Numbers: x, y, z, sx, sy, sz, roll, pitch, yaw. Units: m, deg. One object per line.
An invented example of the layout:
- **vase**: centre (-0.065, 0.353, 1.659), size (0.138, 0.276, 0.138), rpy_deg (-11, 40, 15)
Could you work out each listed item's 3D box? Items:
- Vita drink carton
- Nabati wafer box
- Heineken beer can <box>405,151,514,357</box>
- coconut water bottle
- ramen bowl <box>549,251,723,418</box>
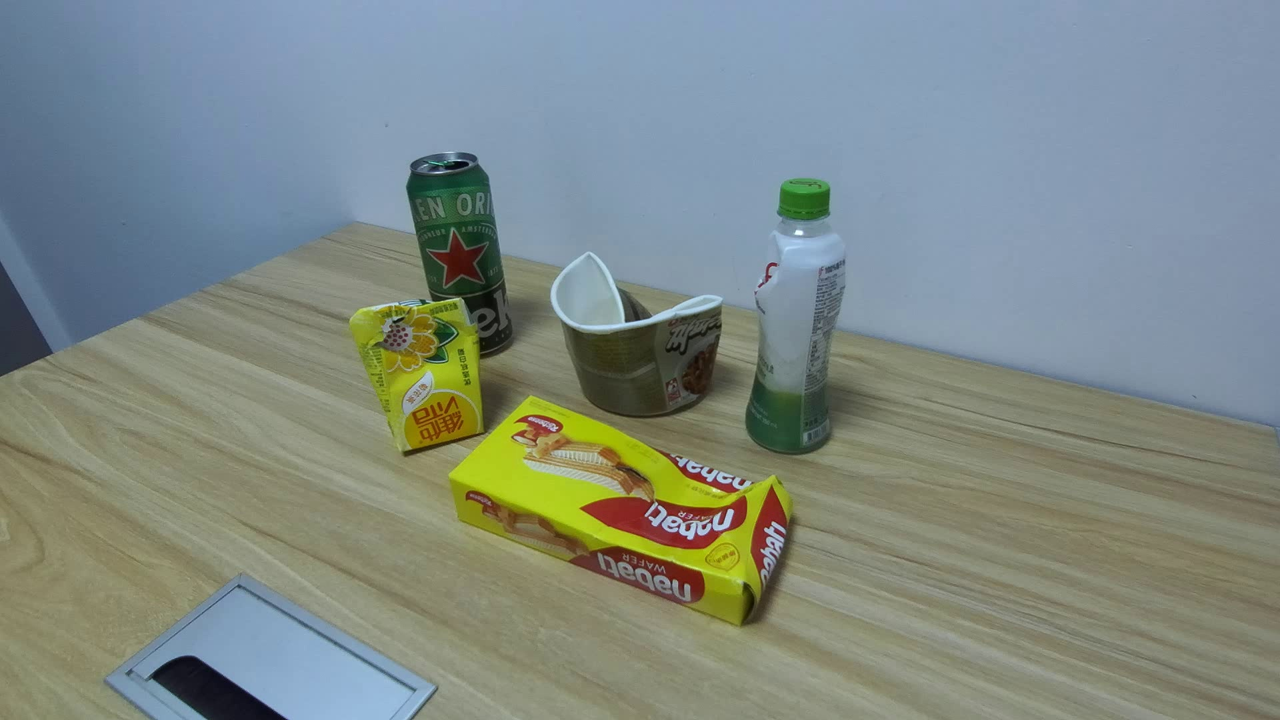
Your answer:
- **Vita drink carton**: centre (-0.162, 0.006, 0.529), size (0.087, 0.108, 0.042), rpy_deg (-12, 19, -21)
- **Nabati wafer box**: centre (-0.008, 0.087, 0.451), size (0.203, 0.042, 0.107), rpy_deg (15, 39, 23)
- **Heineken beer can**: centre (-0.154, -0.087, 0.614), size (0.067, 0.169, 0.067), rpy_deg (-2, 32, 1)
- **coconut water bottle**: centre (0.106, -0.028, 0.480), size (0.069, 0.186, 0.069), rpy_deg (-2, 30, 2)
- **ramen bowl**: centre (-0.006, -0.020, 0.566), size (0.137, 0.098, 0.137), rpy_deg (-3, 31, 2)
